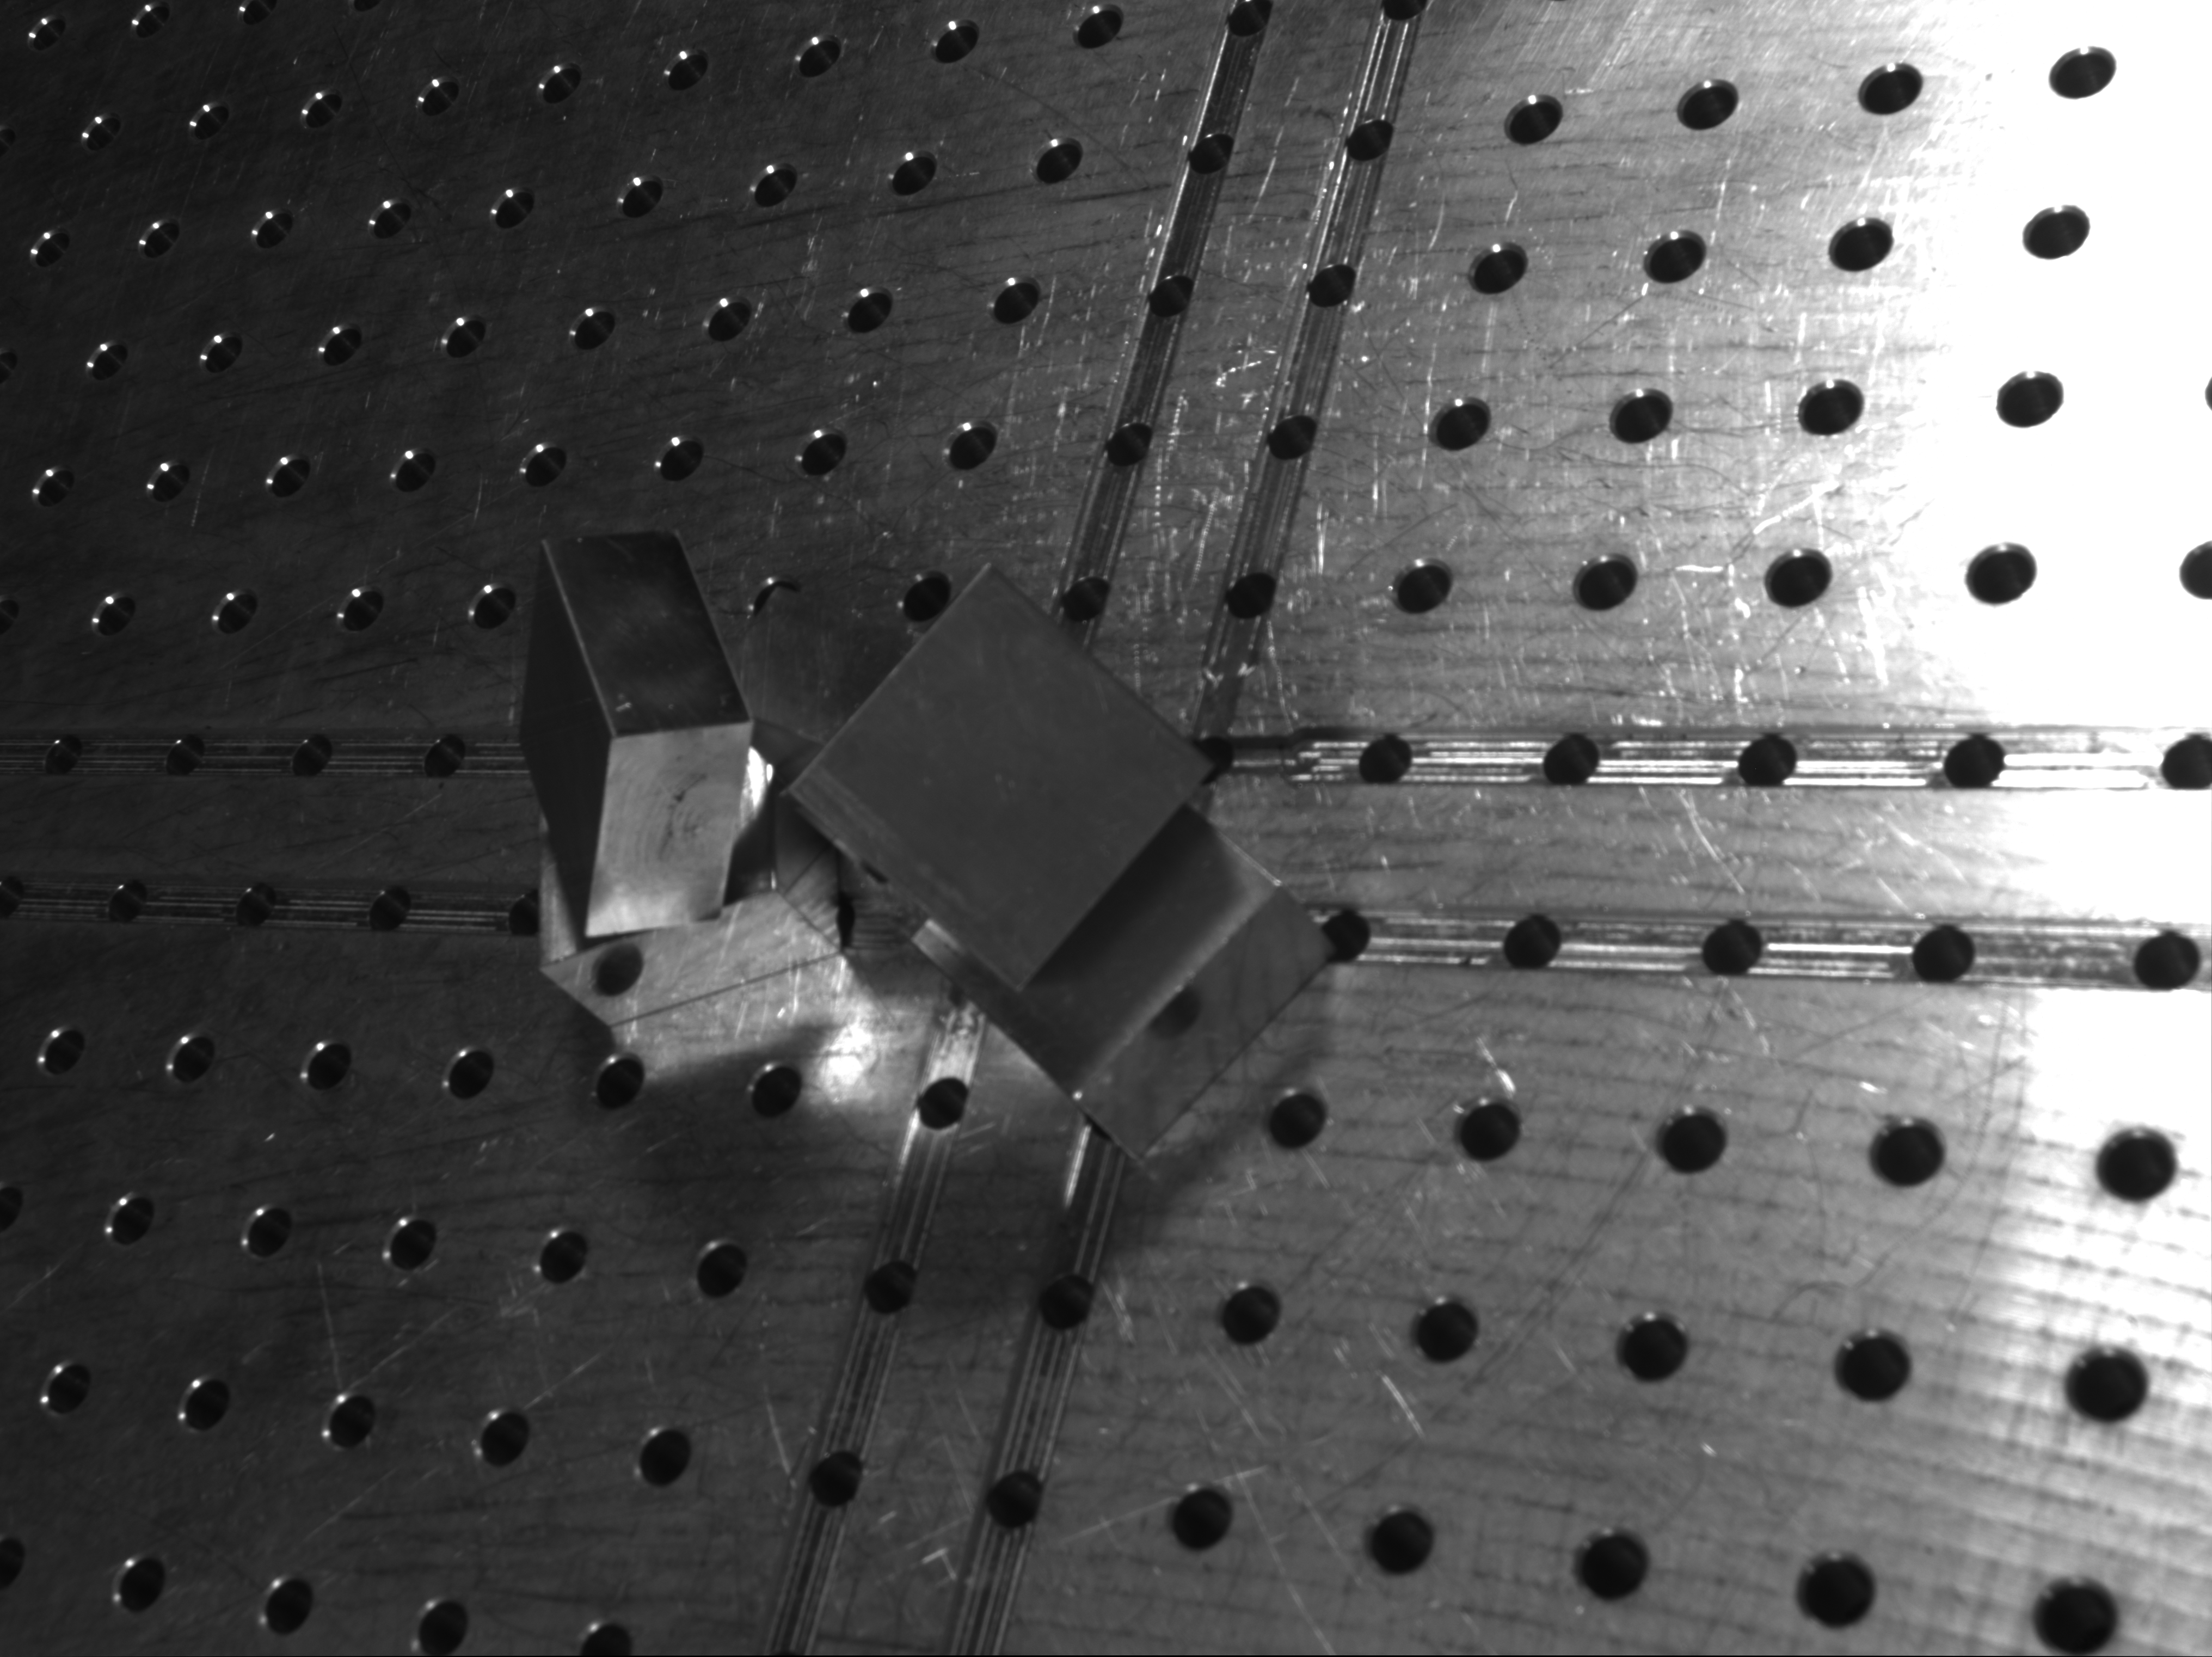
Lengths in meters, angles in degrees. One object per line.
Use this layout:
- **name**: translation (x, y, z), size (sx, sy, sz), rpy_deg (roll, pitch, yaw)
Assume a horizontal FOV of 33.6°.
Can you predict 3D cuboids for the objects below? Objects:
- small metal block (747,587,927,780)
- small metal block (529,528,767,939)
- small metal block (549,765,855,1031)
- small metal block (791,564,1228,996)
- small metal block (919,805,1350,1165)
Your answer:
- **small metal block**: translation (-0.034, -0.014, 0.658), size (0.050, 0.050, 0.025), rpy_deg (20, 72, 36)
- **small metal block**: translation (-0.082, -0.017, 0.650), size (0.025, 0.050, 0.050), rpy_deg (-7, 48, -22)
- **small metal block**: translation (-0.076, 0.004, 0.686), size (0.050, 0.025, 0.050), rpy_deg (-18, 54, 18)
- **small metal block**: translation (-0.017, -0.008, 0.611), size (0.050, 0.025, 0.050), rpy_deg (42, 83, -5)
- **small metal block**: translation (0.005, 0.021, 0.632), size (0.050, 0.025, 0.050), rpy_deg (-46, 51, -4)
